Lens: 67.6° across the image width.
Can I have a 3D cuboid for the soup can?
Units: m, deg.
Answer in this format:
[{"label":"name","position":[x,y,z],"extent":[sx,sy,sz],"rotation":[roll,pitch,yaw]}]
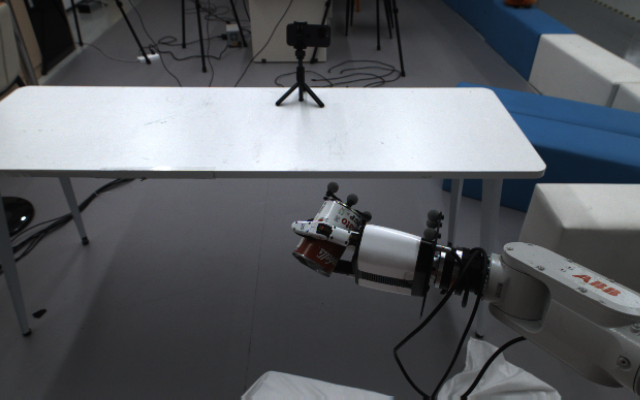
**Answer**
[{"label":"soup can","position":[0.012,0.057,0.738],"extent":[0.067,0.067,0.101],"rotation":[24,73,29]}]
